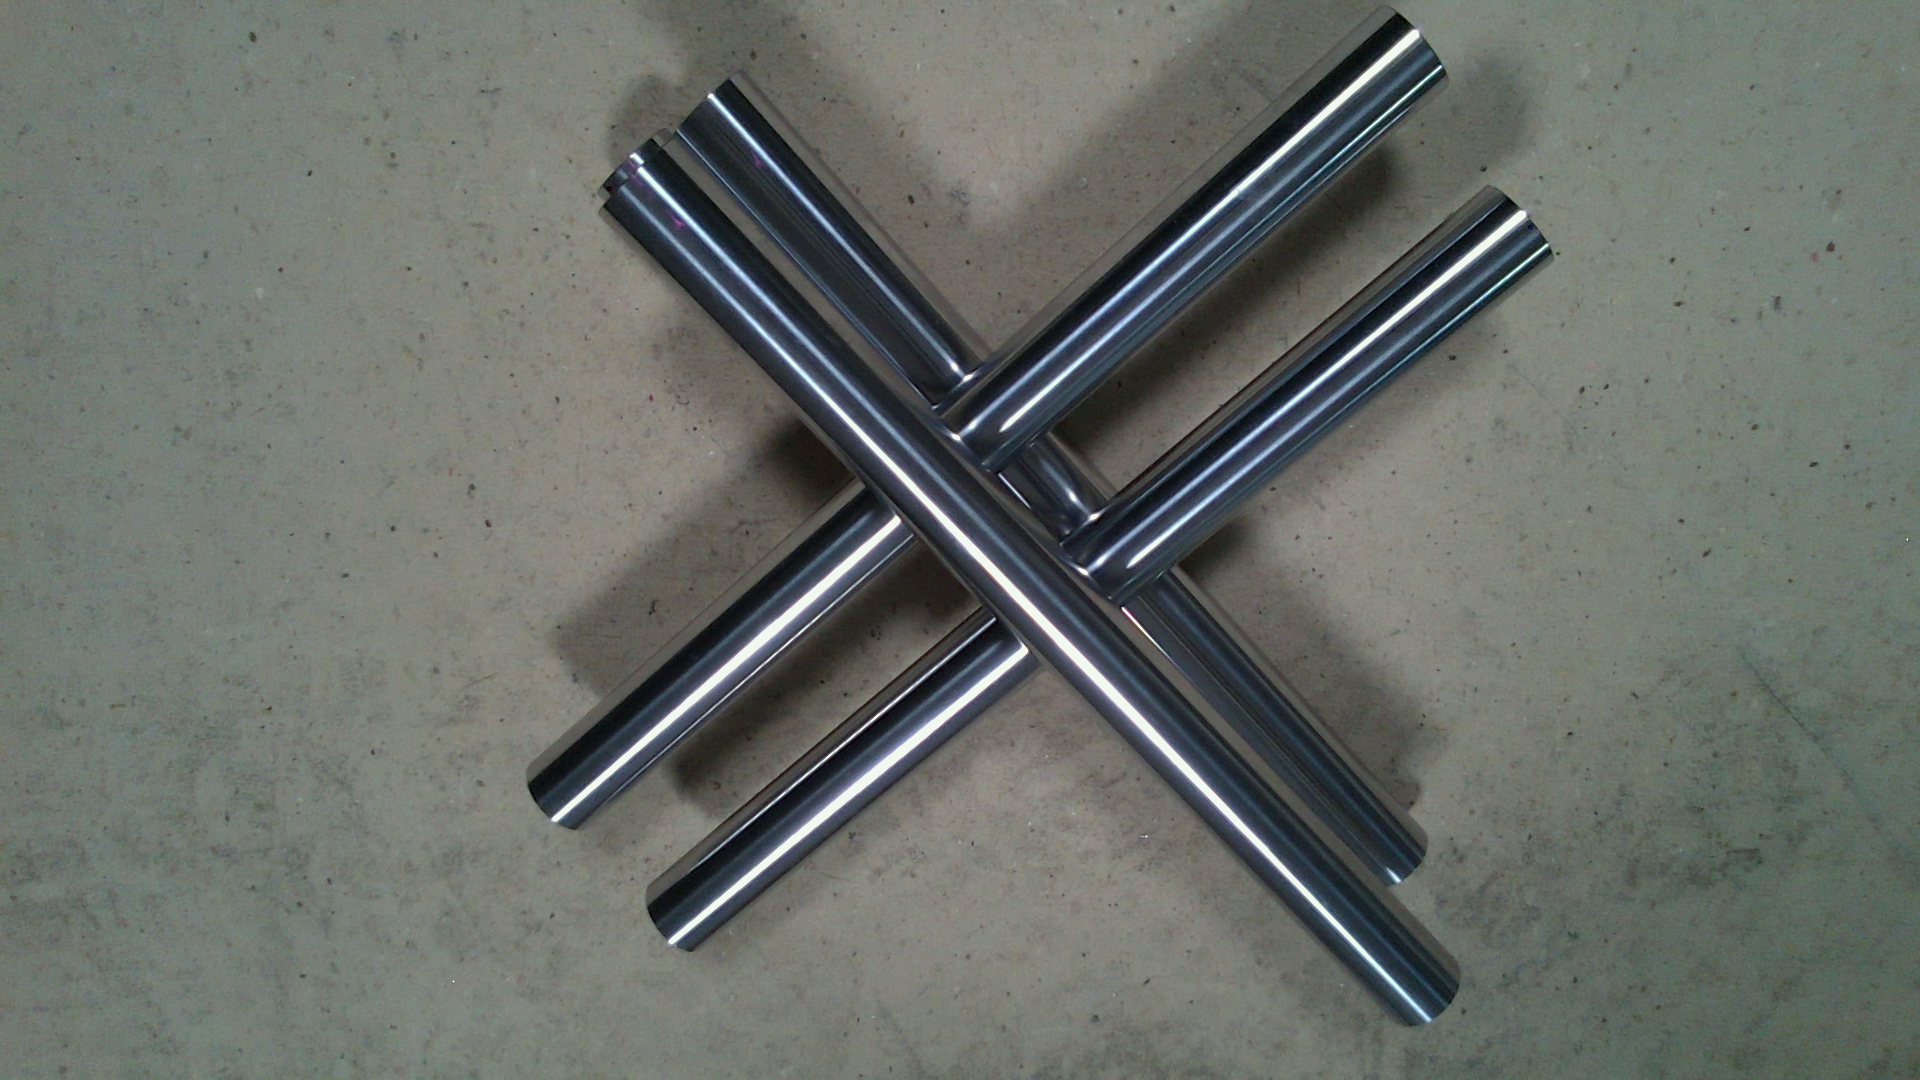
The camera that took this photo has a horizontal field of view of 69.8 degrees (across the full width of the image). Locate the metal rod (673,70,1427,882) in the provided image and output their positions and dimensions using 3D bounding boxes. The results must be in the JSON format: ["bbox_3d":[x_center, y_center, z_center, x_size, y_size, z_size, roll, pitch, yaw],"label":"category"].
[{"bbox_3d":[0.035,-0.007,0.392,0.025,0.025,0.300,-40,106,13],"label":"metal rod"}]

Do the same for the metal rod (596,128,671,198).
[{"bbox_3d":[0.015,0.007,0.396,0.025,0.025,0.300,-40,106,13],"label":"metal rod"}]

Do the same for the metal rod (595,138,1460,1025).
[{"bbox_3d":[0.028,0.022,0.349,0.025,0.025,0.300,-41,105,14],"label":"metal rod"}]

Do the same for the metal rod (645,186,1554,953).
[{"bbox_3d":[0.027,0.017,0.374,0.300,0.025,0.025,-40,105,13],"label":"metal rod"}]

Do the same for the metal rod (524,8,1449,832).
[{"bbox_3d":[-0.004,-0.021,0.359,0.300,0.025,0.025,-40,105,13],"label":"metal rod"}]
